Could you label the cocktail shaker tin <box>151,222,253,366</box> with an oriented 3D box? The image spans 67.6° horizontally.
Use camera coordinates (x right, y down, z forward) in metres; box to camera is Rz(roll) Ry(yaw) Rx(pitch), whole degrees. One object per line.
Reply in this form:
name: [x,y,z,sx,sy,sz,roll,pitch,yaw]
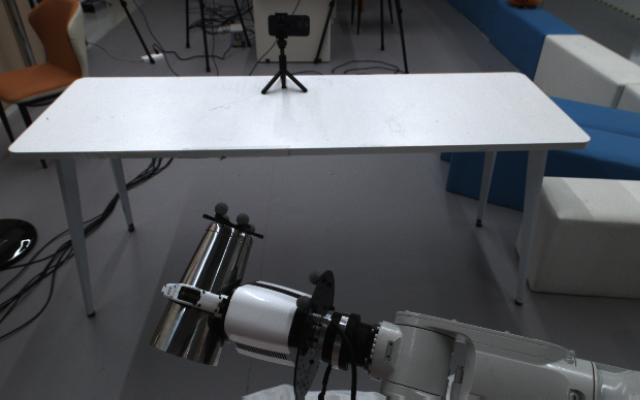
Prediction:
cocktail shaker tin: [-0.147,0.123,0.645,0.093,0.093,0.170,13,73,16]
